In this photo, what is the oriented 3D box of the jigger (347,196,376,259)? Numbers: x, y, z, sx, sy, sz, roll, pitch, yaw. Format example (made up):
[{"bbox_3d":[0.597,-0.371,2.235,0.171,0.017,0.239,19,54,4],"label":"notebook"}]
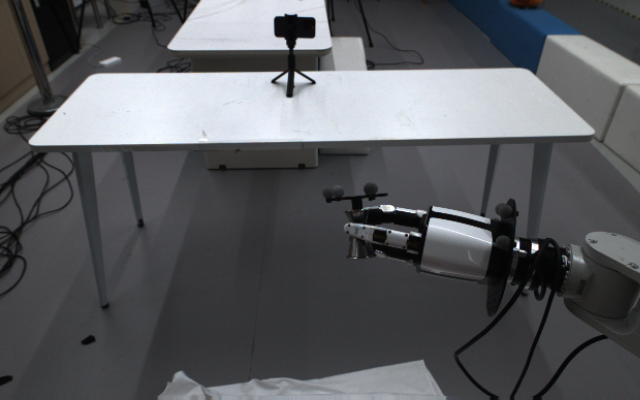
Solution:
[{"bbox_3d":[0.055,0.046,0.687,0.043,0.071,0.043,-4,1,0],"label":"jigger"}]
